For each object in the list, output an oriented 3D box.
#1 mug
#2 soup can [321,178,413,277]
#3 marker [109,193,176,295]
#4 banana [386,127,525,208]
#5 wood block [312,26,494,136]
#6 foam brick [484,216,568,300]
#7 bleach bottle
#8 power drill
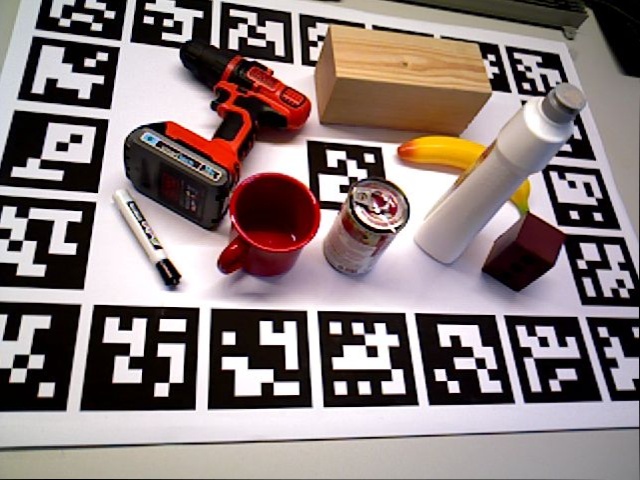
[{"bbox_3d":[-0.062,-0.008,0.555,0.093,0.083,0.115,42,63,6],"label":"mug"},{"bbox_3d":[0.046,-0.013,0.569,0.067,0.104,0.067,8,56,-13],"label":"soup can"},{"bbox_3d":[-0.181,0.004,0.556,0.019,0.020,0.121,-27,73,-24],"label":"marker"},{"bbox_3d":[0.180,-0.104,0.697,0.196,0.039,0.073,18,73,-8],"label":"banana"},{"bbox_3d":[0.101,-0.198,0.699,0.204,0.093,0.089,2,63,-14],"label":"wood block"},{"bbox_3d":[0.237,0.022,0.627,0.052,0.080,0.050,32,56,5],"label":"foam brick"},{"bbox_3d":[0.180,-0.066,0.554,0.068,0.256,0.100,28,57,1],"label":"bleach bottle"},{"bbox_3d":[-0.123,-0.131,0.625,0.184,0.059,0.183,30,57,-2],"label":"power drill"}]
